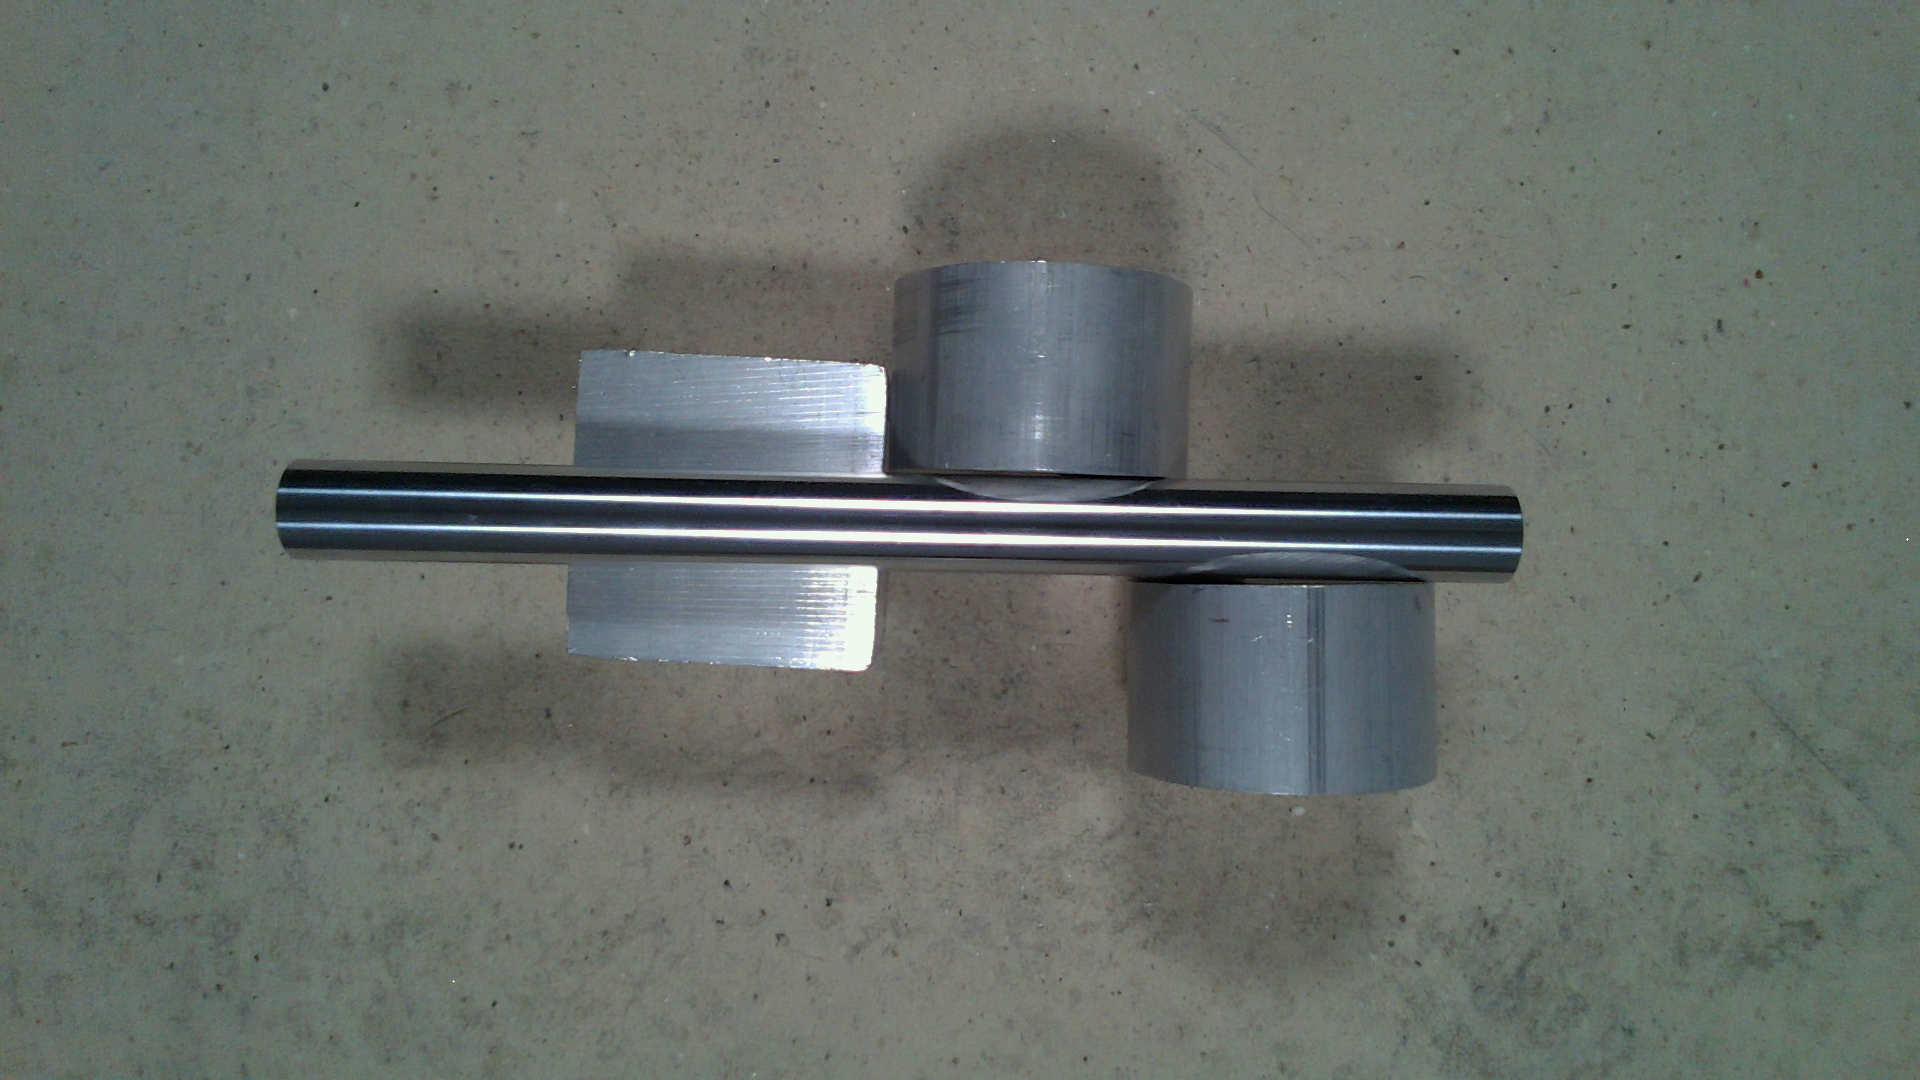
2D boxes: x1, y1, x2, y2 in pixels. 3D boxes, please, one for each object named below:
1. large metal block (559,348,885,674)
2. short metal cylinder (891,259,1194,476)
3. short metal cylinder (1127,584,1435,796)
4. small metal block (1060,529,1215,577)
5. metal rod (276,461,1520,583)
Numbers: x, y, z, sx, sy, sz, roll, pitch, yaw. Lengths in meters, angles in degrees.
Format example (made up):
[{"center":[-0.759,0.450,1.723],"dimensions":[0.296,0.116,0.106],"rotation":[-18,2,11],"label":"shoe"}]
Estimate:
[{"center":[-0.061,-0.007,0.380],"dimensions":[0.080,0.050,0.080],"rotation":[3,90,0],"label":"large metal block"},{"center":[0.021,-0.042,0.369],"dimensions":[0.080,0.080,0.050],"rotation":[2,90,0],"label":"short metal cylinder"},{"center":[0.085,0.036,0.368],"dimensions":[0.080,0.080,0.050],"rotation":[0,90,0],"label":"short metal cylinder"},{"center":[0.051,-0.003,0.382],"dimensions":[0.050,0.050,0.025],"rotation":[1,90,0],"label":"small metal block"},{"center":[-0.014,-0.004,0.344],"dimensions":[0.300,0.025,0.025],"rotation":[1,90,-1],"label":"metal rod"}]
